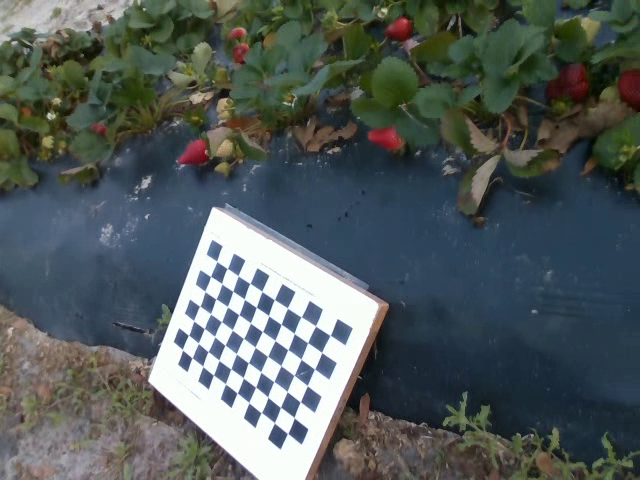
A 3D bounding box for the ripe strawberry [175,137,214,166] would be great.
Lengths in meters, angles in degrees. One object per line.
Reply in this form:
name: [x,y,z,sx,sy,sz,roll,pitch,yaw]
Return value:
ripe strawberry: [-0.192,-0.132,0.949,0.050,0.034,0.059,15,45,38]
